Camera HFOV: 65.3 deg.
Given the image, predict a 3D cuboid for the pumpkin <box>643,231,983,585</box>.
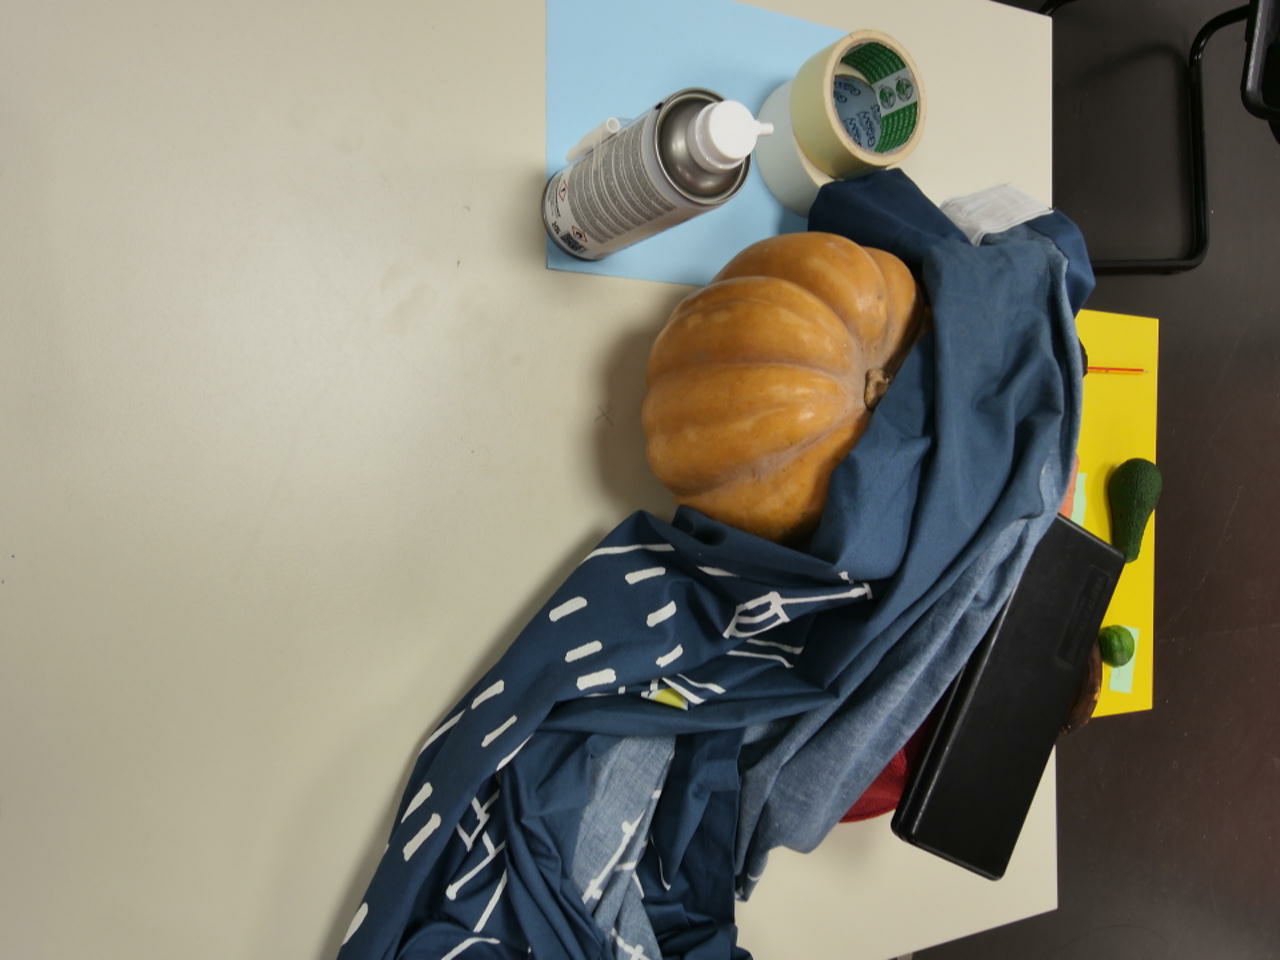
[{"bbox_3d":[0.110,-0.043,0.659,0.230,0.194,0.230,0,91,-28],"label":"pumpkin"}]
